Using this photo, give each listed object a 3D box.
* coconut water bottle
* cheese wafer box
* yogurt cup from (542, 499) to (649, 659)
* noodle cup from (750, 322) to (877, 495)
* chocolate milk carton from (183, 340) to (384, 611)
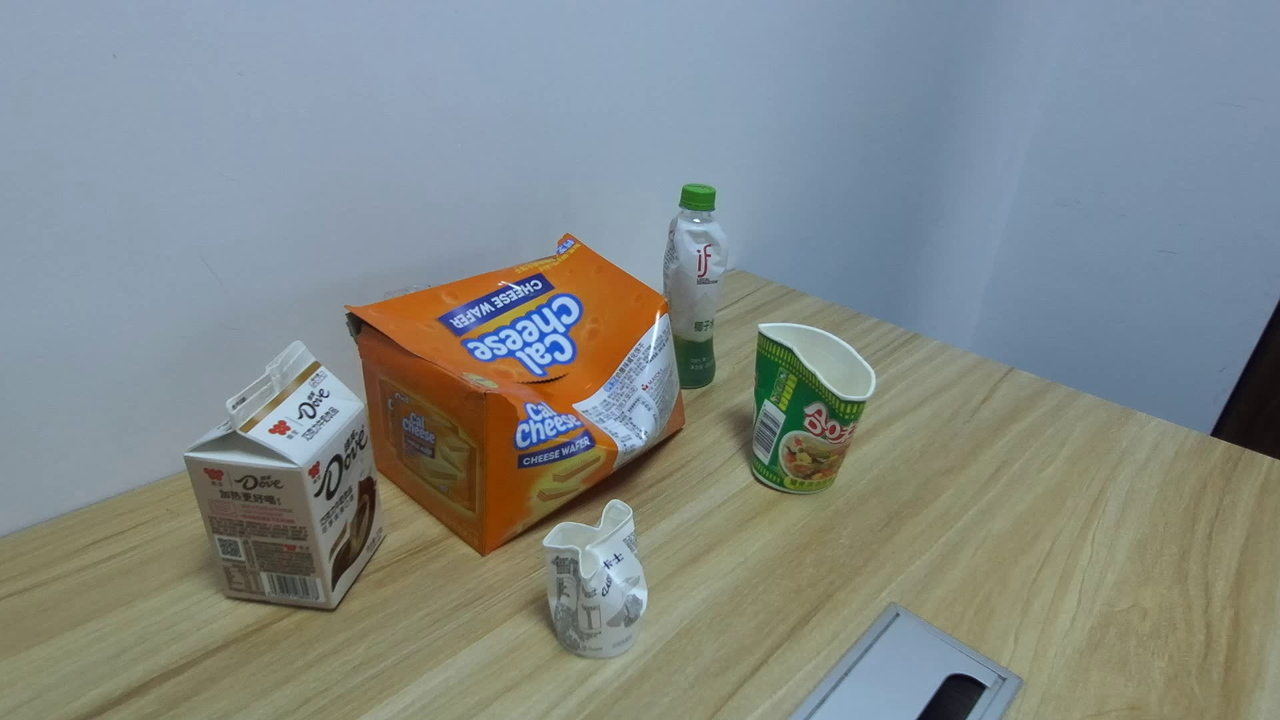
[{"bbox_3d":[0.048,-0.068,0.662,0.067,0.187,0.067,3,25,-1],"label":"coconut water bottle"},{"bbox_3d":[-0.074,0.014,0.551,0.190,0.145,0.220,24,36,36],"label":"cheese wafer box"},{"bbox_3d":[-0.026,0.129,0.414,0.055,0.072,0.055,-21,34,-33],"label":"yogurt cup"},{"bbox_3d":[0.127,0.041,0.544,0.070,0.111,0.115,0,29,-1],"label":"noodle cup"},{"bbox_3d":[-0.212,0.068,0.428,0.074,0.148,0.075,5,26,5],"label":"chocolate milk carton"}]
